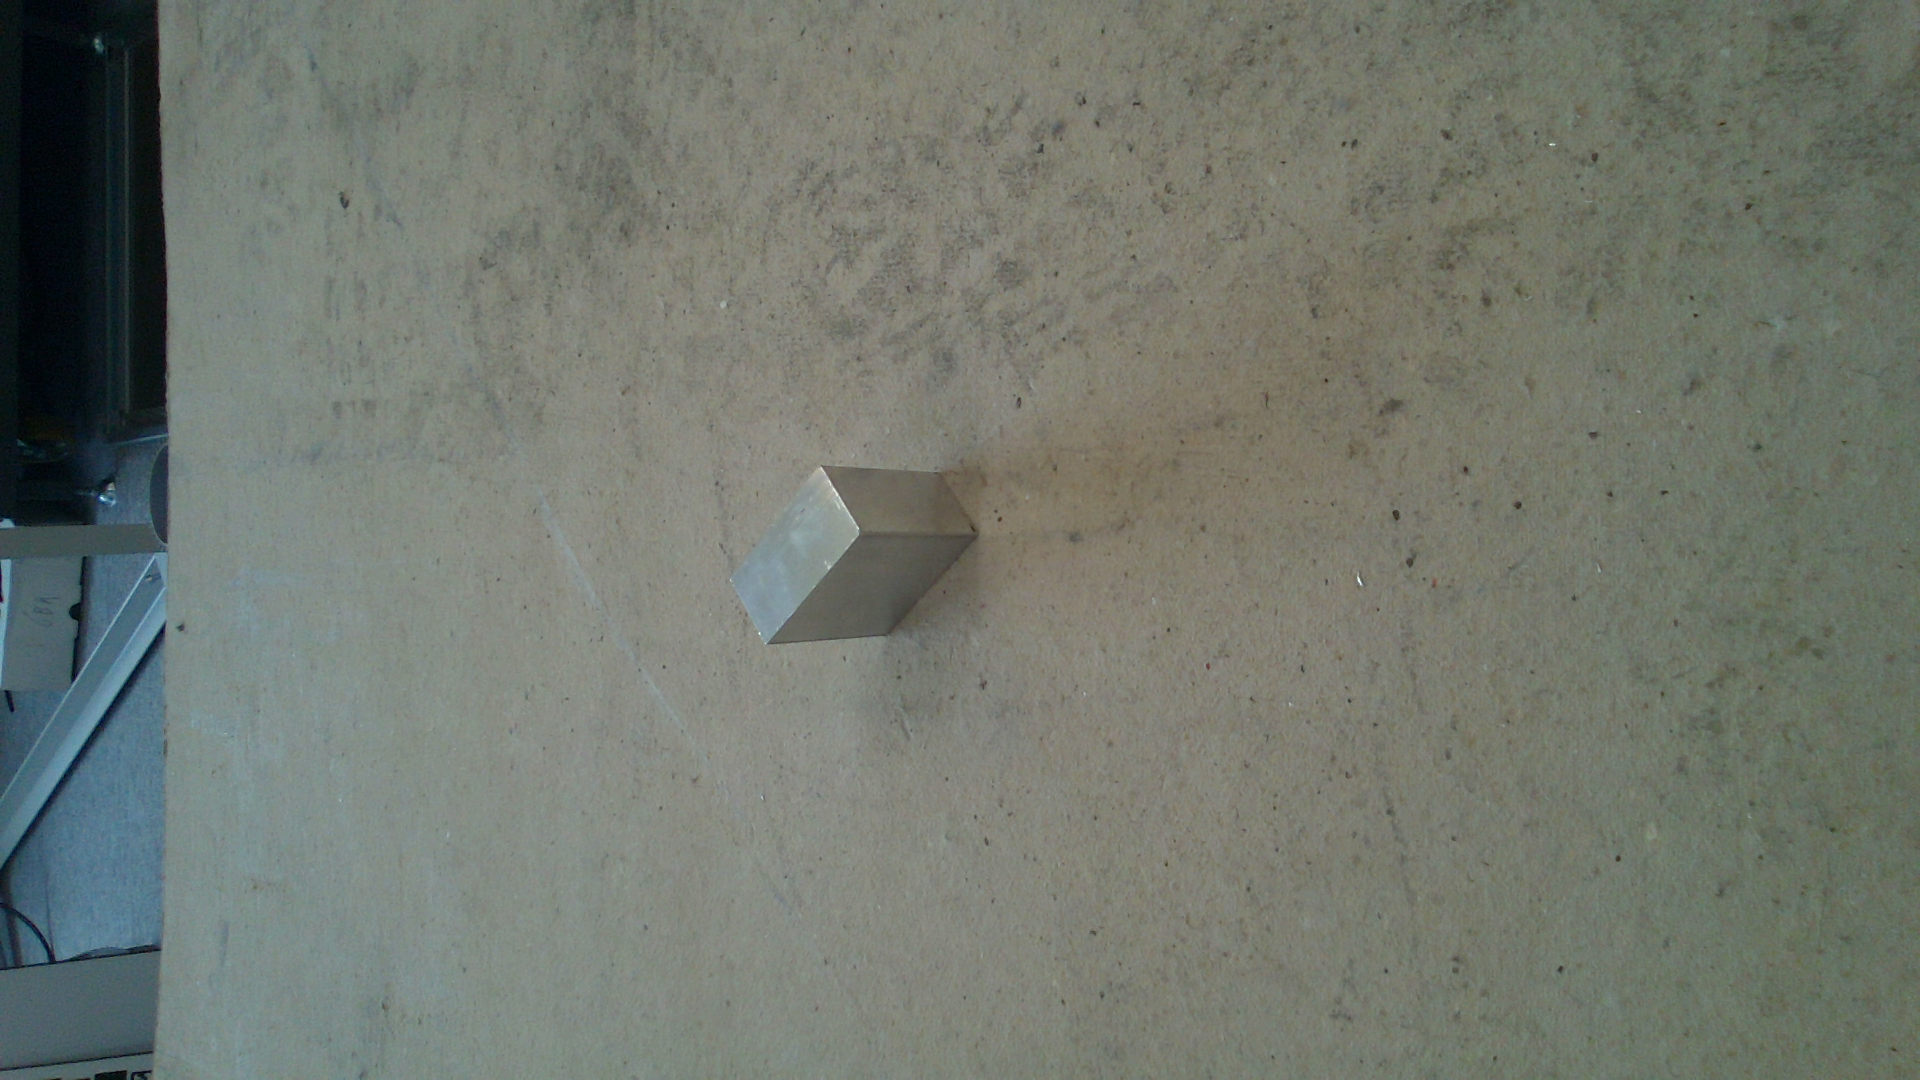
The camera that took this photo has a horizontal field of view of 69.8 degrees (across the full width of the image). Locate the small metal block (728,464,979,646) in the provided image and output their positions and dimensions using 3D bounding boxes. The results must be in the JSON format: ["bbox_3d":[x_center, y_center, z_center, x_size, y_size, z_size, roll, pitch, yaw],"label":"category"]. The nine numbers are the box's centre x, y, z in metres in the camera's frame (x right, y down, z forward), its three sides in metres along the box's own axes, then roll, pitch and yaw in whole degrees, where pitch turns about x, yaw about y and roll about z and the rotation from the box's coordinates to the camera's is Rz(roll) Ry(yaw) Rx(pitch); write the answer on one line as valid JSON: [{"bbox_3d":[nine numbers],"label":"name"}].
[{"bbox_3d":[-0.031,0.005,0.405,0.050,0.050,0.025,-48,62,29],"label":"small metal block"}]
